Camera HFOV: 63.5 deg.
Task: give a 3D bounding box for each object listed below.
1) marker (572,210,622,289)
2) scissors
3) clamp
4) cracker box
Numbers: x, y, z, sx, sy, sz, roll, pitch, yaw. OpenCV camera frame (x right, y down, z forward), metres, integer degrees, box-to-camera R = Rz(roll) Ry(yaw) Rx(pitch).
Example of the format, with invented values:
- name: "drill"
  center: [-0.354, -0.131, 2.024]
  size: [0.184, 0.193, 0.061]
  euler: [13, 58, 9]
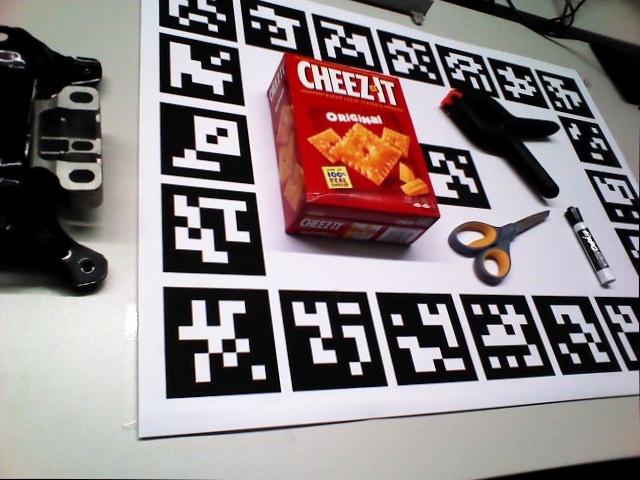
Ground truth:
- name: "marker"
  center: [0.386, 0.010, 0.725]
  size: [0.019, 0.020, 0.120]
  euler: [1, 59, -25]
- name: "scissors"
  center: [0.254, -0.003, 0.673]
  size: [0.201, 0.016, 0.087]
  euler: [-26, 72, -37]
- name: "clamp"
  center: [0.271, -0.159, 0.786]
  size: [0.203, 0.037, 0.164]
  euler: [30, 51, -6]
- name: "cracker box"
  center: [0.038, -0.102, 0.603]
  size: [0.164, 0.072, 0.212]
  euler: [5, 58, -22]
